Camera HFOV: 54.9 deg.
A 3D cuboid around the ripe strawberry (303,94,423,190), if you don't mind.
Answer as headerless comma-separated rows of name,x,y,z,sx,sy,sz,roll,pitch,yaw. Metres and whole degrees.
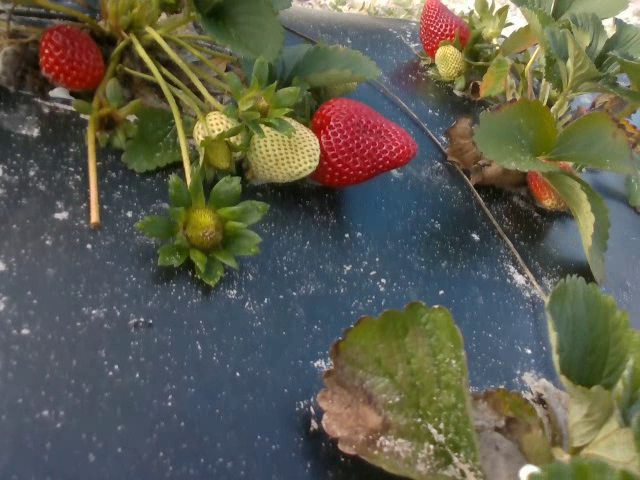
ripe strawberry,0.024,-0.047,0.312,0.055,0.051,0.048,15,-15,26
